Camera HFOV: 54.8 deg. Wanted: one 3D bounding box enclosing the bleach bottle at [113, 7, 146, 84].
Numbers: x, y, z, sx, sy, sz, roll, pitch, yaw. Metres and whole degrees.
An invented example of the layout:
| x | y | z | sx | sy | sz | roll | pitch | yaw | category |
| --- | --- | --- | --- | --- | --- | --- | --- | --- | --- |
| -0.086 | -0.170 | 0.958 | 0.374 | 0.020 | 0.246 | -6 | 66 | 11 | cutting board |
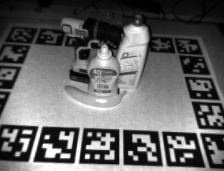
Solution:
| x | y | z | sx | sy | sz | roll | pitch | yaw | category |
| --- | --- | --- | --- | --- | --- | --- | --- | --- | --- |
| 0.043 | -0.113 | 0.656 | 0.102 | 0.252 | 0.067 | 5 | 46 | 0 | bleach bottle |

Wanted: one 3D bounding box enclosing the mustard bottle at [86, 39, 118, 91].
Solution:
| x | y | z | sx | sy | sz | roll | pitch | yaw | category |
| --- | --- | --- | --- | --- | --- | --- | --- | --- | --- |
| -0.031 | -0.057 | 0.635 | 0.096 | 0.192 | 0.058 | 3 | 52 | -3 | mustard bottle |

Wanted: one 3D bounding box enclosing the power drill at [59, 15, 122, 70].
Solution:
| x | y | z | sx | sy | sz | roll | pitch | yaw | category |
| --- | --- | --- | --- | --- | --- | --- | --- | --- | --- |
| -0.068 | -0.127 | 0.661 | 0.184 | 0.187 | 0.057 | 13 | 51 | 4 | power drill |

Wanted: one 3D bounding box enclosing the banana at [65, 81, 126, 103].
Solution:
| x | y | z | sx | sy | sz | roll | pitch | yaw | category |
| --- | --- | --- | --- | --- | --- | --- | --- | --- | --- |
| -0.056 | 0.018 | 0.684 | 0.197 | 0.039 | 0.074 | 6 | 53 | 2 | banana |
